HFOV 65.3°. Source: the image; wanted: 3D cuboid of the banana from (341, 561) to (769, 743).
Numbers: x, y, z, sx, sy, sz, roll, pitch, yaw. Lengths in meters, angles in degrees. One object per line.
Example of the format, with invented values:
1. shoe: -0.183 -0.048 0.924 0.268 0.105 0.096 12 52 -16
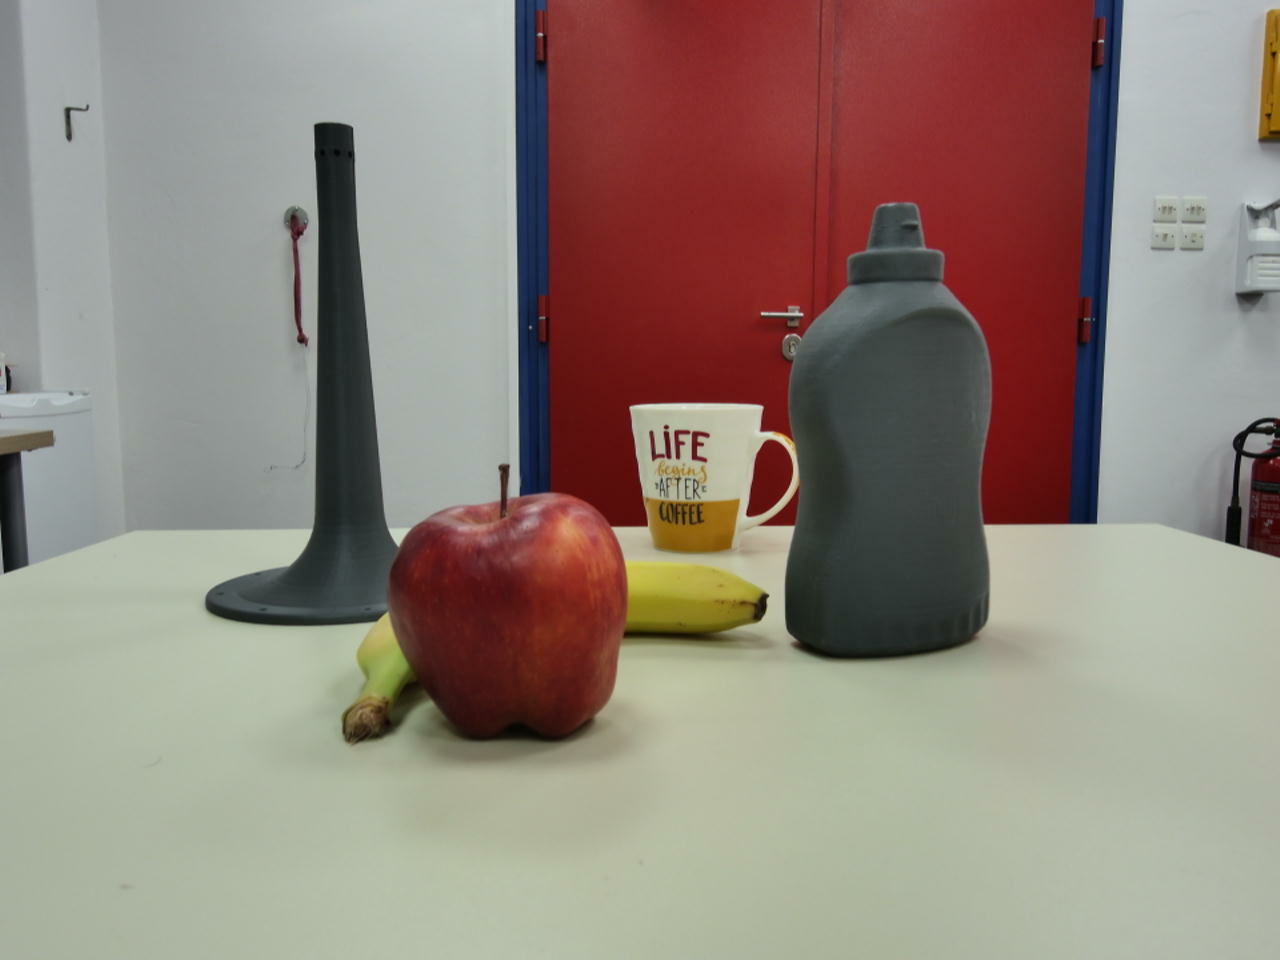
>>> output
1. banana: -0.044 0.060 0.422 0.196 0.041 0.094 -3 5 -36
